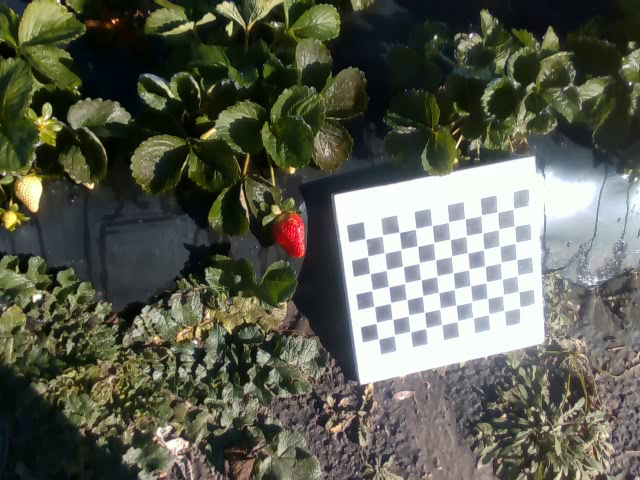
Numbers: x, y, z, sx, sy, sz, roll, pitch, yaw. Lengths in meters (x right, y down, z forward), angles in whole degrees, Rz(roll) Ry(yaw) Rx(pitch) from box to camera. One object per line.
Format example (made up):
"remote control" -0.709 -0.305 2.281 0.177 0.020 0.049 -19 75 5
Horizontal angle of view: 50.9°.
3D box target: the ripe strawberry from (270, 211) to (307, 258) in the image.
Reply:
"ripe strawberry" -0.035 -0.004 0.842 0.048 0.069 0.040 -28 11 -5
